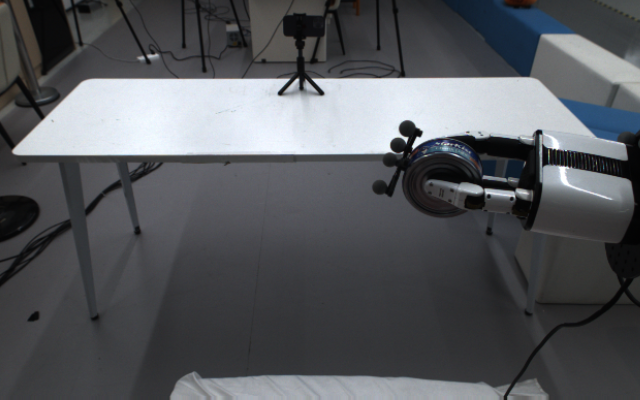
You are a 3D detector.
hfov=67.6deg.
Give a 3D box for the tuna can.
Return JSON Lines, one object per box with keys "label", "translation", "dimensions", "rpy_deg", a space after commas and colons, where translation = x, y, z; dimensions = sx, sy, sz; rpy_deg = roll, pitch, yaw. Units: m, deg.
{"label": "tuna can", "translation": [0.137, -0.026, 0.533], "dimensions": [0.085, 0.085, 0.034], "rpy_deg": [9, 34, 10]}
